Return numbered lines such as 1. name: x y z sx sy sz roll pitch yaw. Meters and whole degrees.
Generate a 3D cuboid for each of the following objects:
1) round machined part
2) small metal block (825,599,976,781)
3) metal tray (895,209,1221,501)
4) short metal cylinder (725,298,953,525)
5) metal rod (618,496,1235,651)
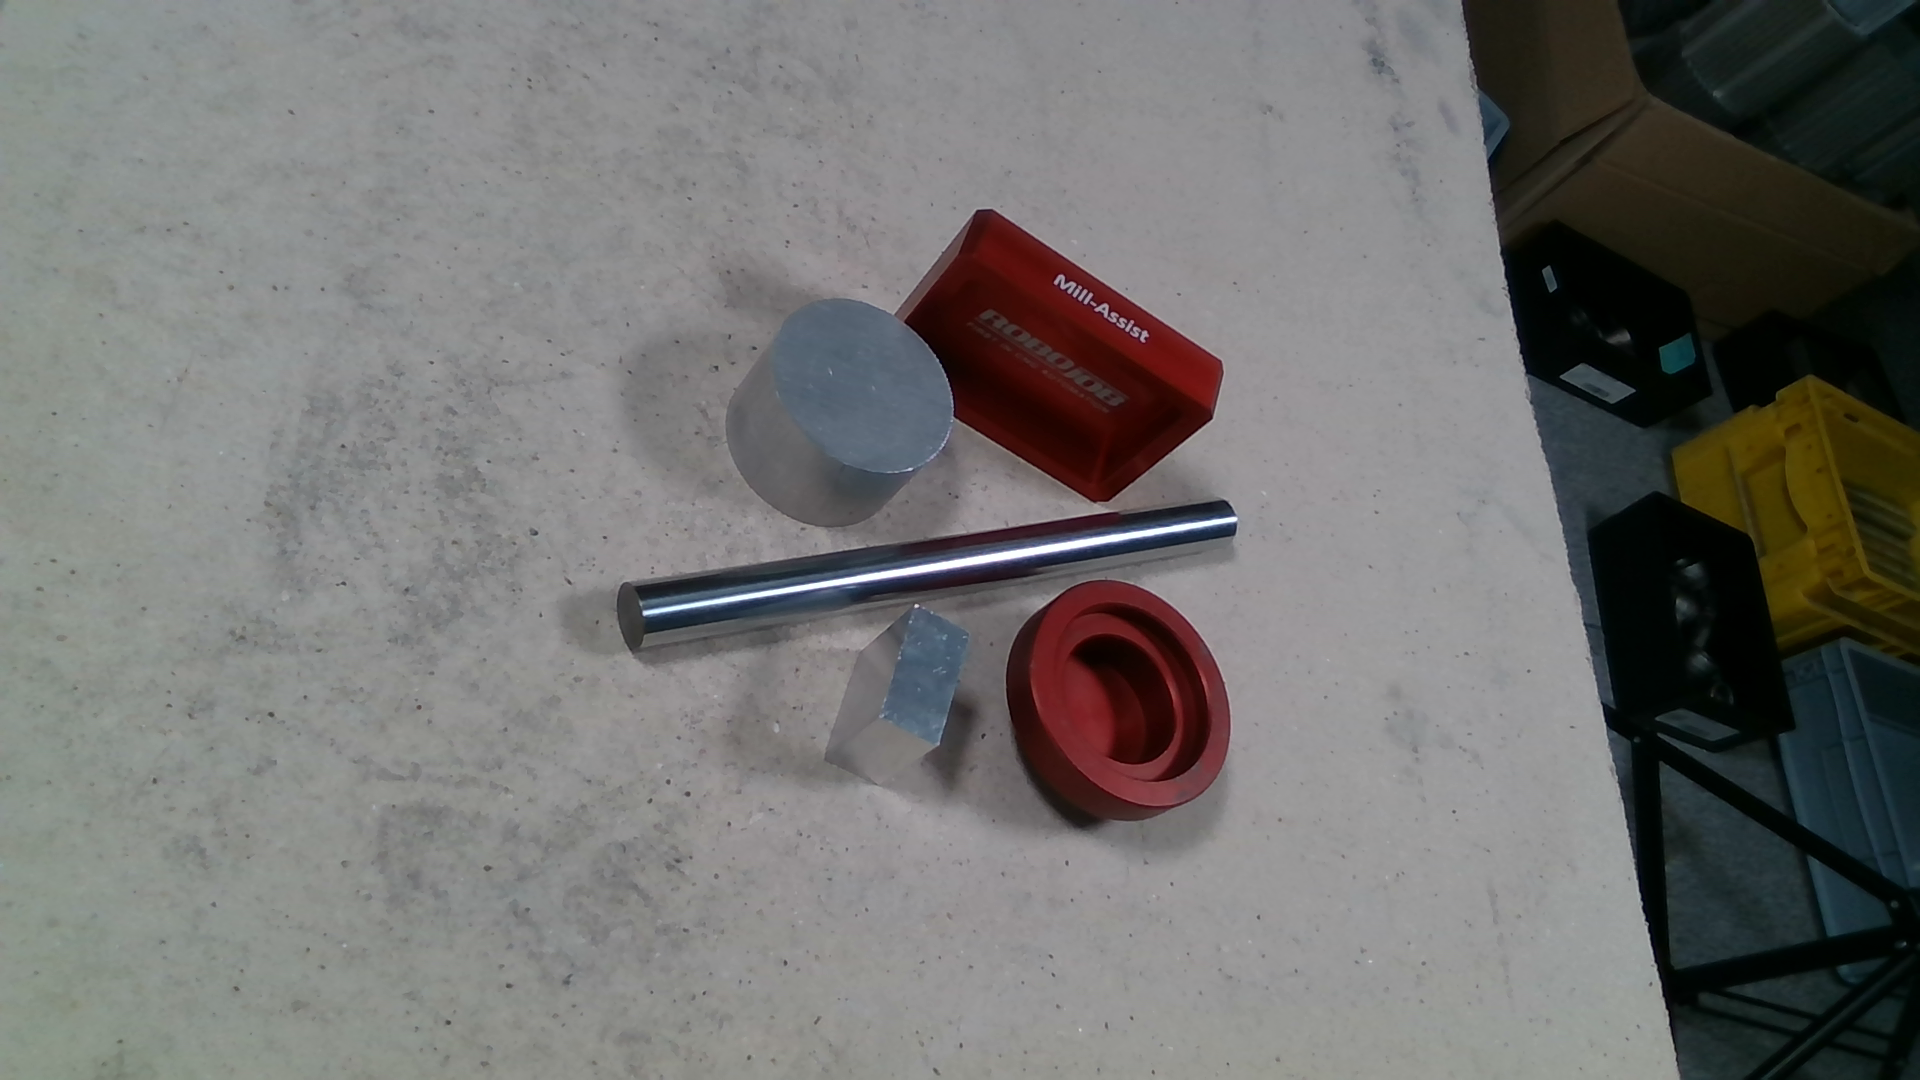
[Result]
1. round machined part: 0.061 0.070 0.576 0.098 0.042 0.098 14 59 -25
2. small metal block: -0.023 0.058 0.522 0.025 0.050 0.050 29 53 -15
3. metal tray: 0.038 -0.077 0.609 0.130 0.090 0.030 30 53 -15
4. short metal cylinder: -0.050 -0.052 0.567 0.080 0.050 0.080 14 59 -25
5. metal rod: 0.002 0.009 0.584 0.300 0.025 0.025 -9 70 -35
